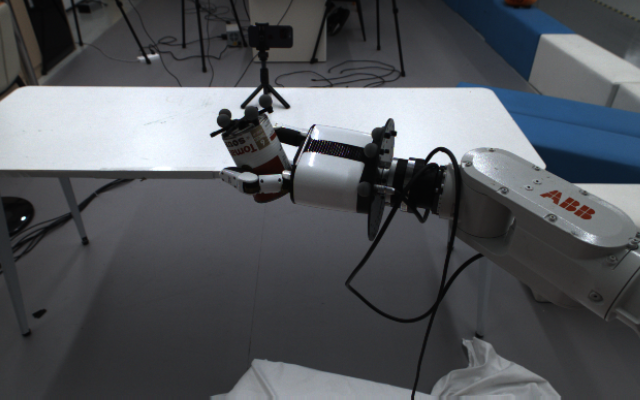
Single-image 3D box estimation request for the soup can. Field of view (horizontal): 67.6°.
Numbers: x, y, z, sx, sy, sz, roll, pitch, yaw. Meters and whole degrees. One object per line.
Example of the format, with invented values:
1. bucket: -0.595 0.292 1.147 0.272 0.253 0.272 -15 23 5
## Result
1. soup can: -0.078 -0.056 0.651 0.067 0.101 0.067 -21 24 10
